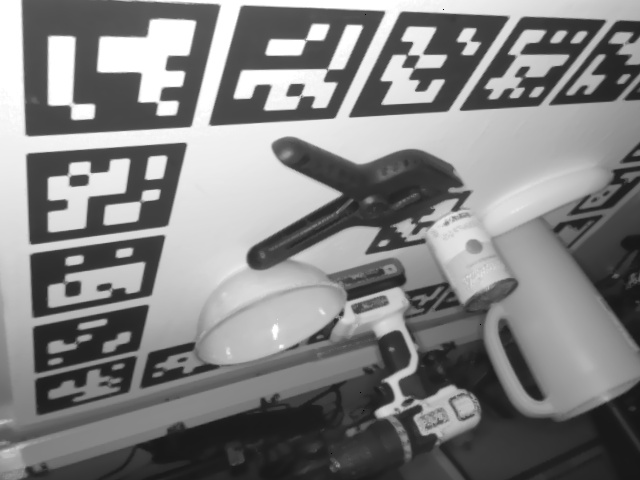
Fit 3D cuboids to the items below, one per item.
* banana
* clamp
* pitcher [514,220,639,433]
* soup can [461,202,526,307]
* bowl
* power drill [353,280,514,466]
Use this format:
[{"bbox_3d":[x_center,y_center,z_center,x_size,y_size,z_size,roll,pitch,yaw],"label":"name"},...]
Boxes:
[{"bbox_3d":[0.319,-0.049,0.821,0.199,0.039,0.073,-19,157,-10],"label":"banana"},{"bbox_3d":[0.098,-0.063,0.613,0.206,0.036,0.163,-7,140,-30],"label":"clamp"},{"bbox_3d":[0.316,0.102,0.841,0.190,0.242,0.132,-19,152,-12],"label":"pitcher"},{"bbox_3d":[0.208,0.018,0.771,0.068,0.102,0.067,-18,156,-7],"label":"soup can"},{"bbox_3d":[-0.009,0.043,0.685,0.163,0.055,0.160,-21,148,-13],"label":"bowl"},{"bbox_3d":[0.095,0.136,0.740,0.187,0.187,0.056,-8,144,-28],"label":"power drill"}]
